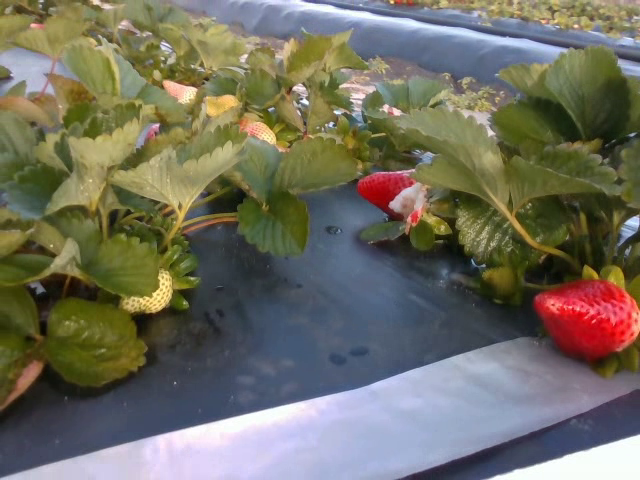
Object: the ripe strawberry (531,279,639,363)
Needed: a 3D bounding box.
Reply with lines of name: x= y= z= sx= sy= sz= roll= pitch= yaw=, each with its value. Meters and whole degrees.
ripe strawberry: x=0.100 y=0.027 z=0.234 sx=0.055 sy=0.036 sz=0.050 roll=-2 pitch=31 yaw=-19
